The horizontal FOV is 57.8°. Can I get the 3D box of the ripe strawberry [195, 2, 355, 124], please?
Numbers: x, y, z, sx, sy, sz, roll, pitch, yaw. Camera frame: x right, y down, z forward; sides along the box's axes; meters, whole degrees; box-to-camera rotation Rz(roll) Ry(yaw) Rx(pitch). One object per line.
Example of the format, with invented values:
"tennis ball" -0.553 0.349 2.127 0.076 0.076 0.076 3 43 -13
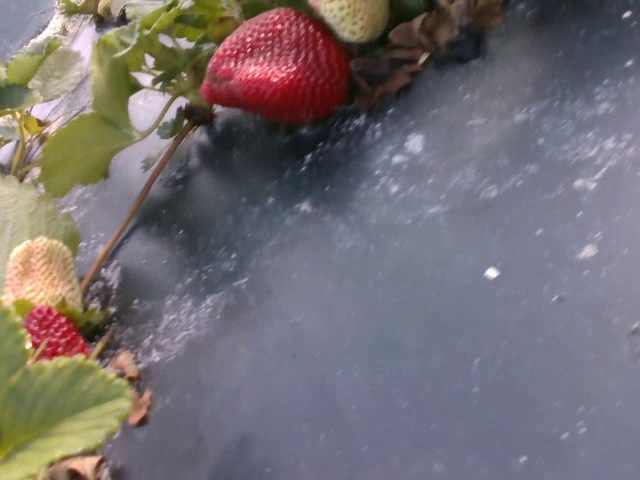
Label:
"ripe strawberry" -0.019 -0.070 0.239 0.070 0.058 0.057 -23 -30 -37
